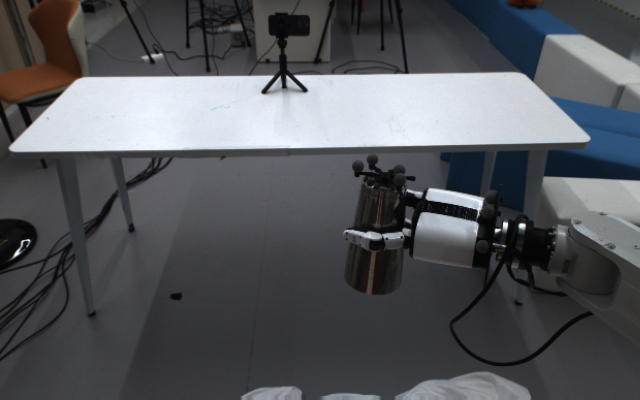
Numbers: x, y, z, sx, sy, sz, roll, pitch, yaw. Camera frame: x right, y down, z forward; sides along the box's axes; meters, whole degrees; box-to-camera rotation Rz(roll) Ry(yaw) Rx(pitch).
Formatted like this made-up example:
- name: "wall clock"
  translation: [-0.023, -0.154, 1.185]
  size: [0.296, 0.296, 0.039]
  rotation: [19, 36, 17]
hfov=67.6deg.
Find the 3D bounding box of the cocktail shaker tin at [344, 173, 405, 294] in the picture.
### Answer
- name: "cocktail shaker tin"
  translation: [0.090, 0.047, 0.741]
  size: [0.093, 0.170, 0.093]
  rotation: [2, 26, -1]
